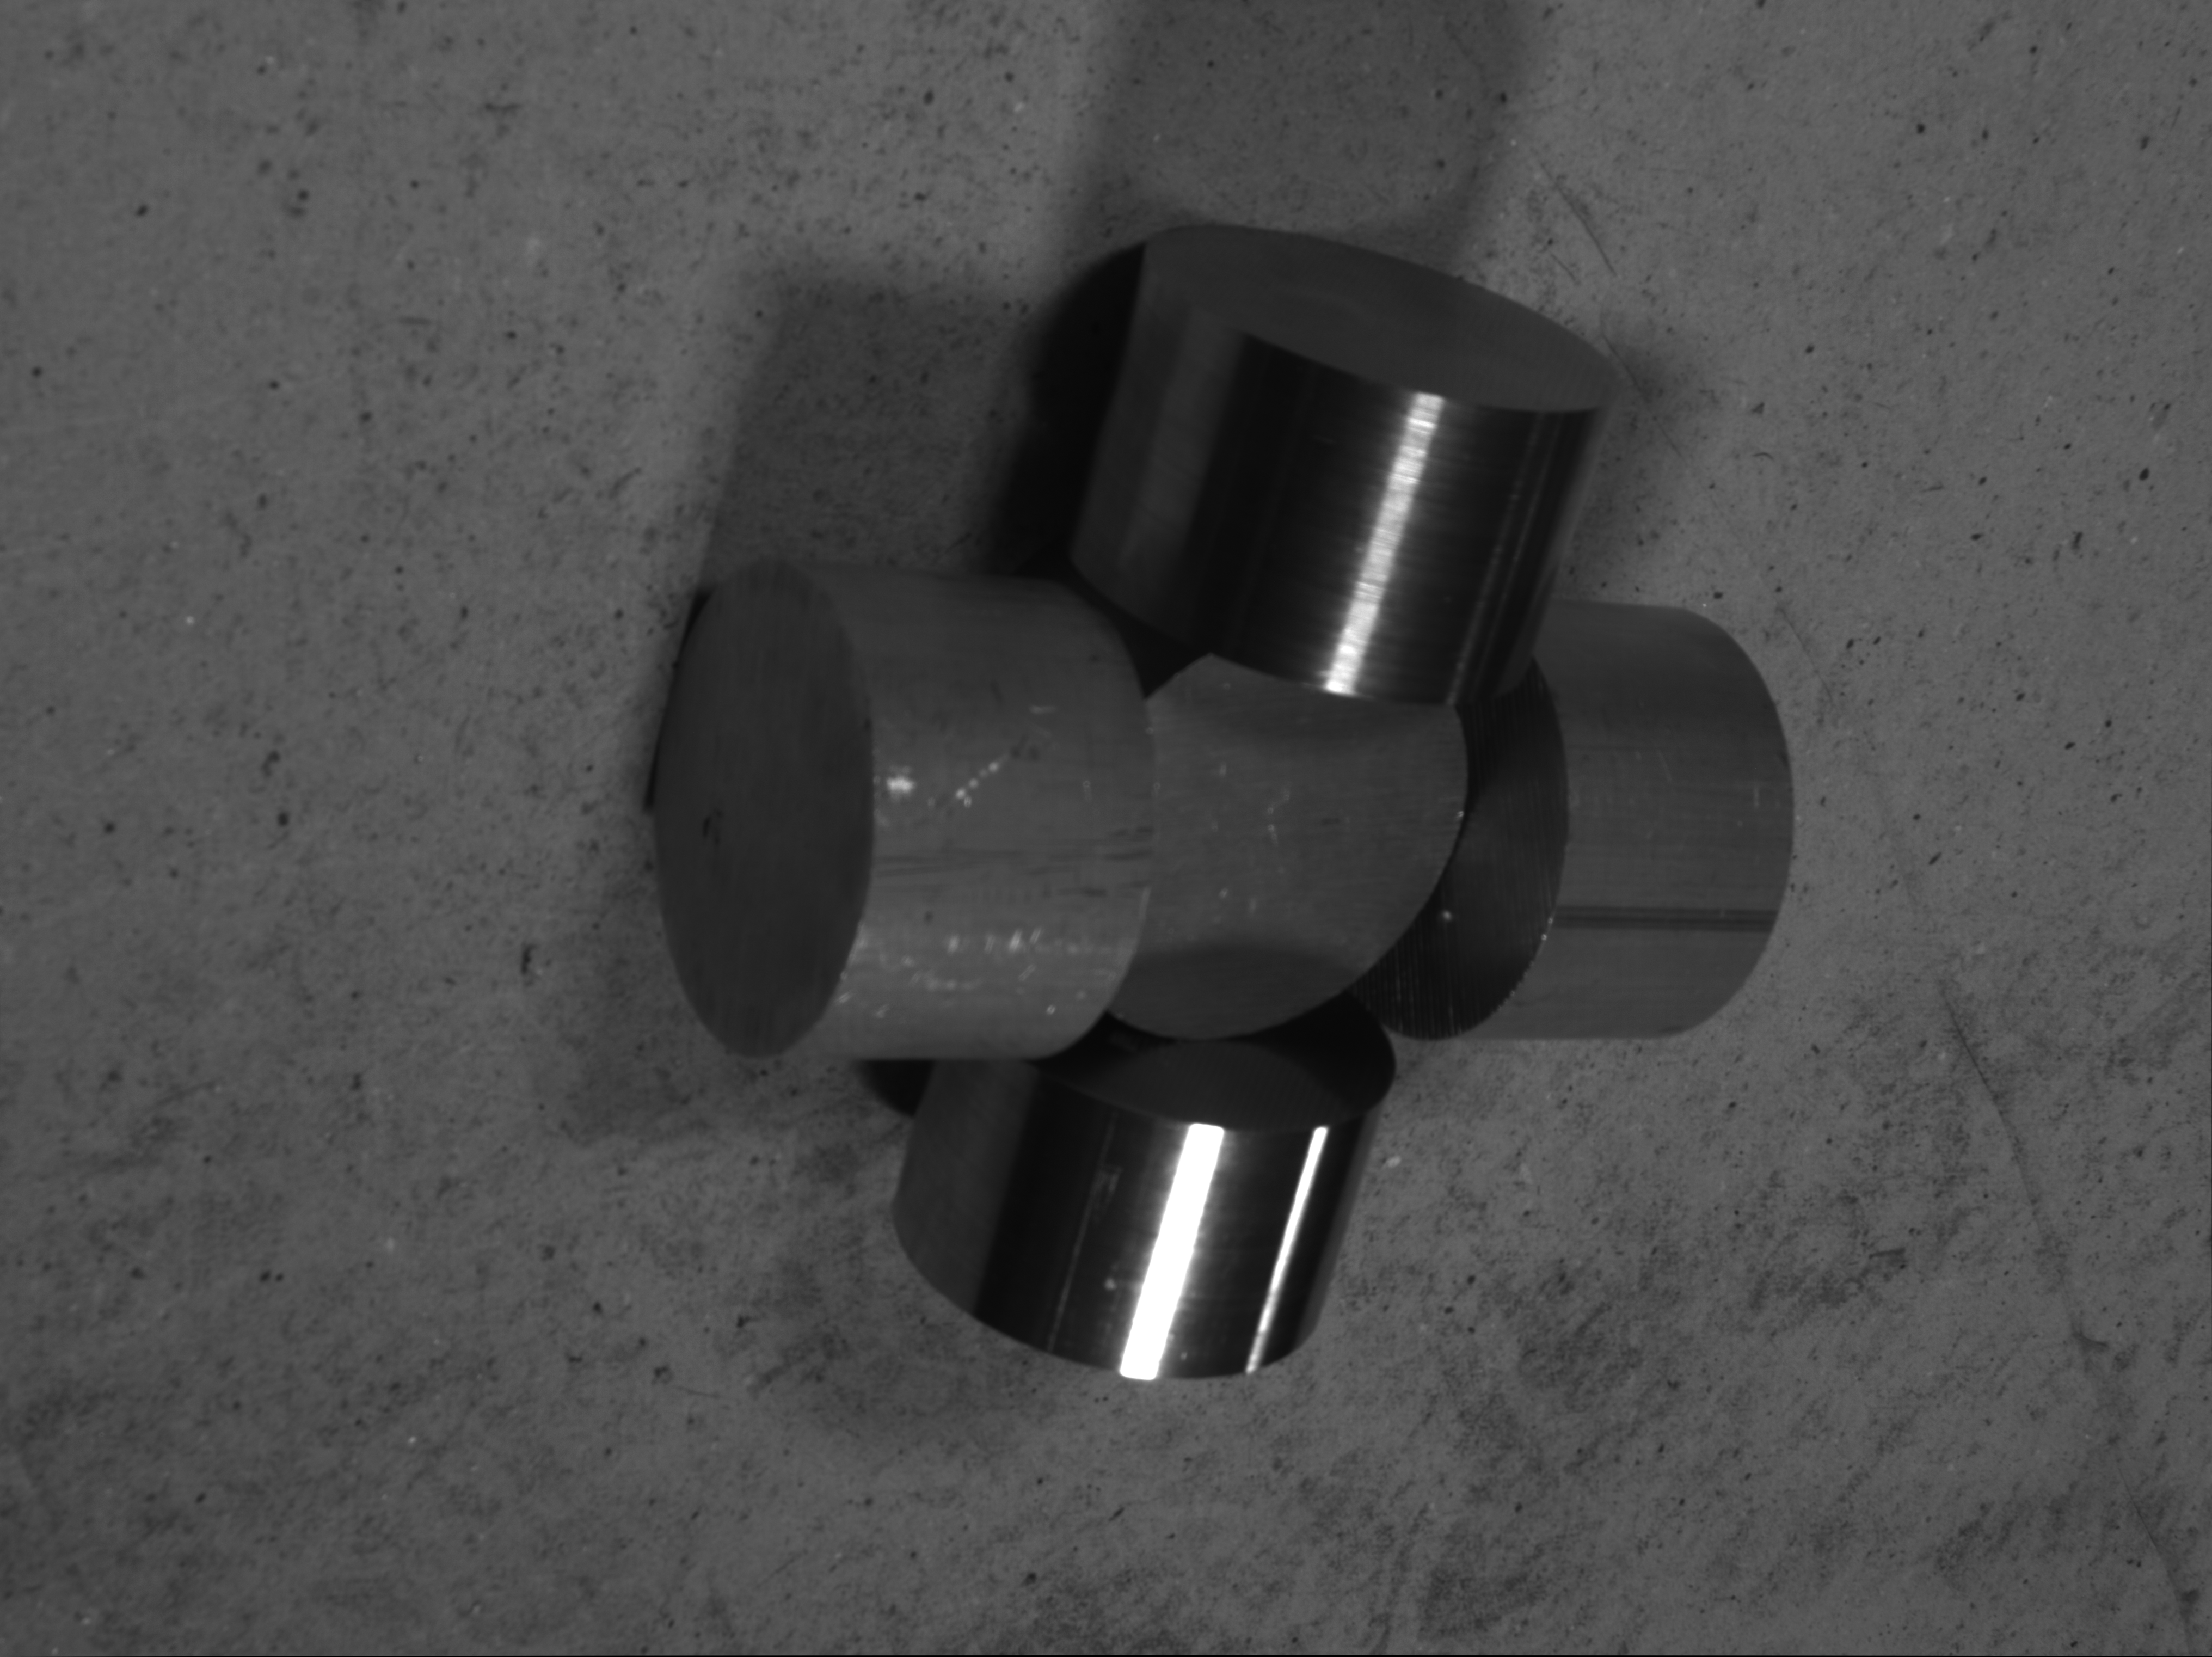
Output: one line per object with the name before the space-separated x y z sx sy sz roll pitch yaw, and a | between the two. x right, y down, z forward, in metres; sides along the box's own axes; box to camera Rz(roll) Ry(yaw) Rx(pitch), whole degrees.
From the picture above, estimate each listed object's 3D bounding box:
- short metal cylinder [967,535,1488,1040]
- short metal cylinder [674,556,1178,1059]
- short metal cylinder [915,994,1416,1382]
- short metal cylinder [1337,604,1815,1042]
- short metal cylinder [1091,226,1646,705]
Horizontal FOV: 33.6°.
short metal cylinder | 0.019 -0.010 0.640 0.080 0.050 0.080 -15 125 -22
short metal cylinder | -0.031 -0.002 0.596 0.050 0.080 0.080 2 117 -31
short metal cylinder | 0.010 0.055 0.655 0.080 0.080 0.050 0 117 -30
short metal cylinder | 0.082 -0.001 0.662 0.050 0.080 0.080 2 117 -31
short metal cylinder | 0.042 -0.061 0.601 0.080 0.080 0.050 2 118 -31
